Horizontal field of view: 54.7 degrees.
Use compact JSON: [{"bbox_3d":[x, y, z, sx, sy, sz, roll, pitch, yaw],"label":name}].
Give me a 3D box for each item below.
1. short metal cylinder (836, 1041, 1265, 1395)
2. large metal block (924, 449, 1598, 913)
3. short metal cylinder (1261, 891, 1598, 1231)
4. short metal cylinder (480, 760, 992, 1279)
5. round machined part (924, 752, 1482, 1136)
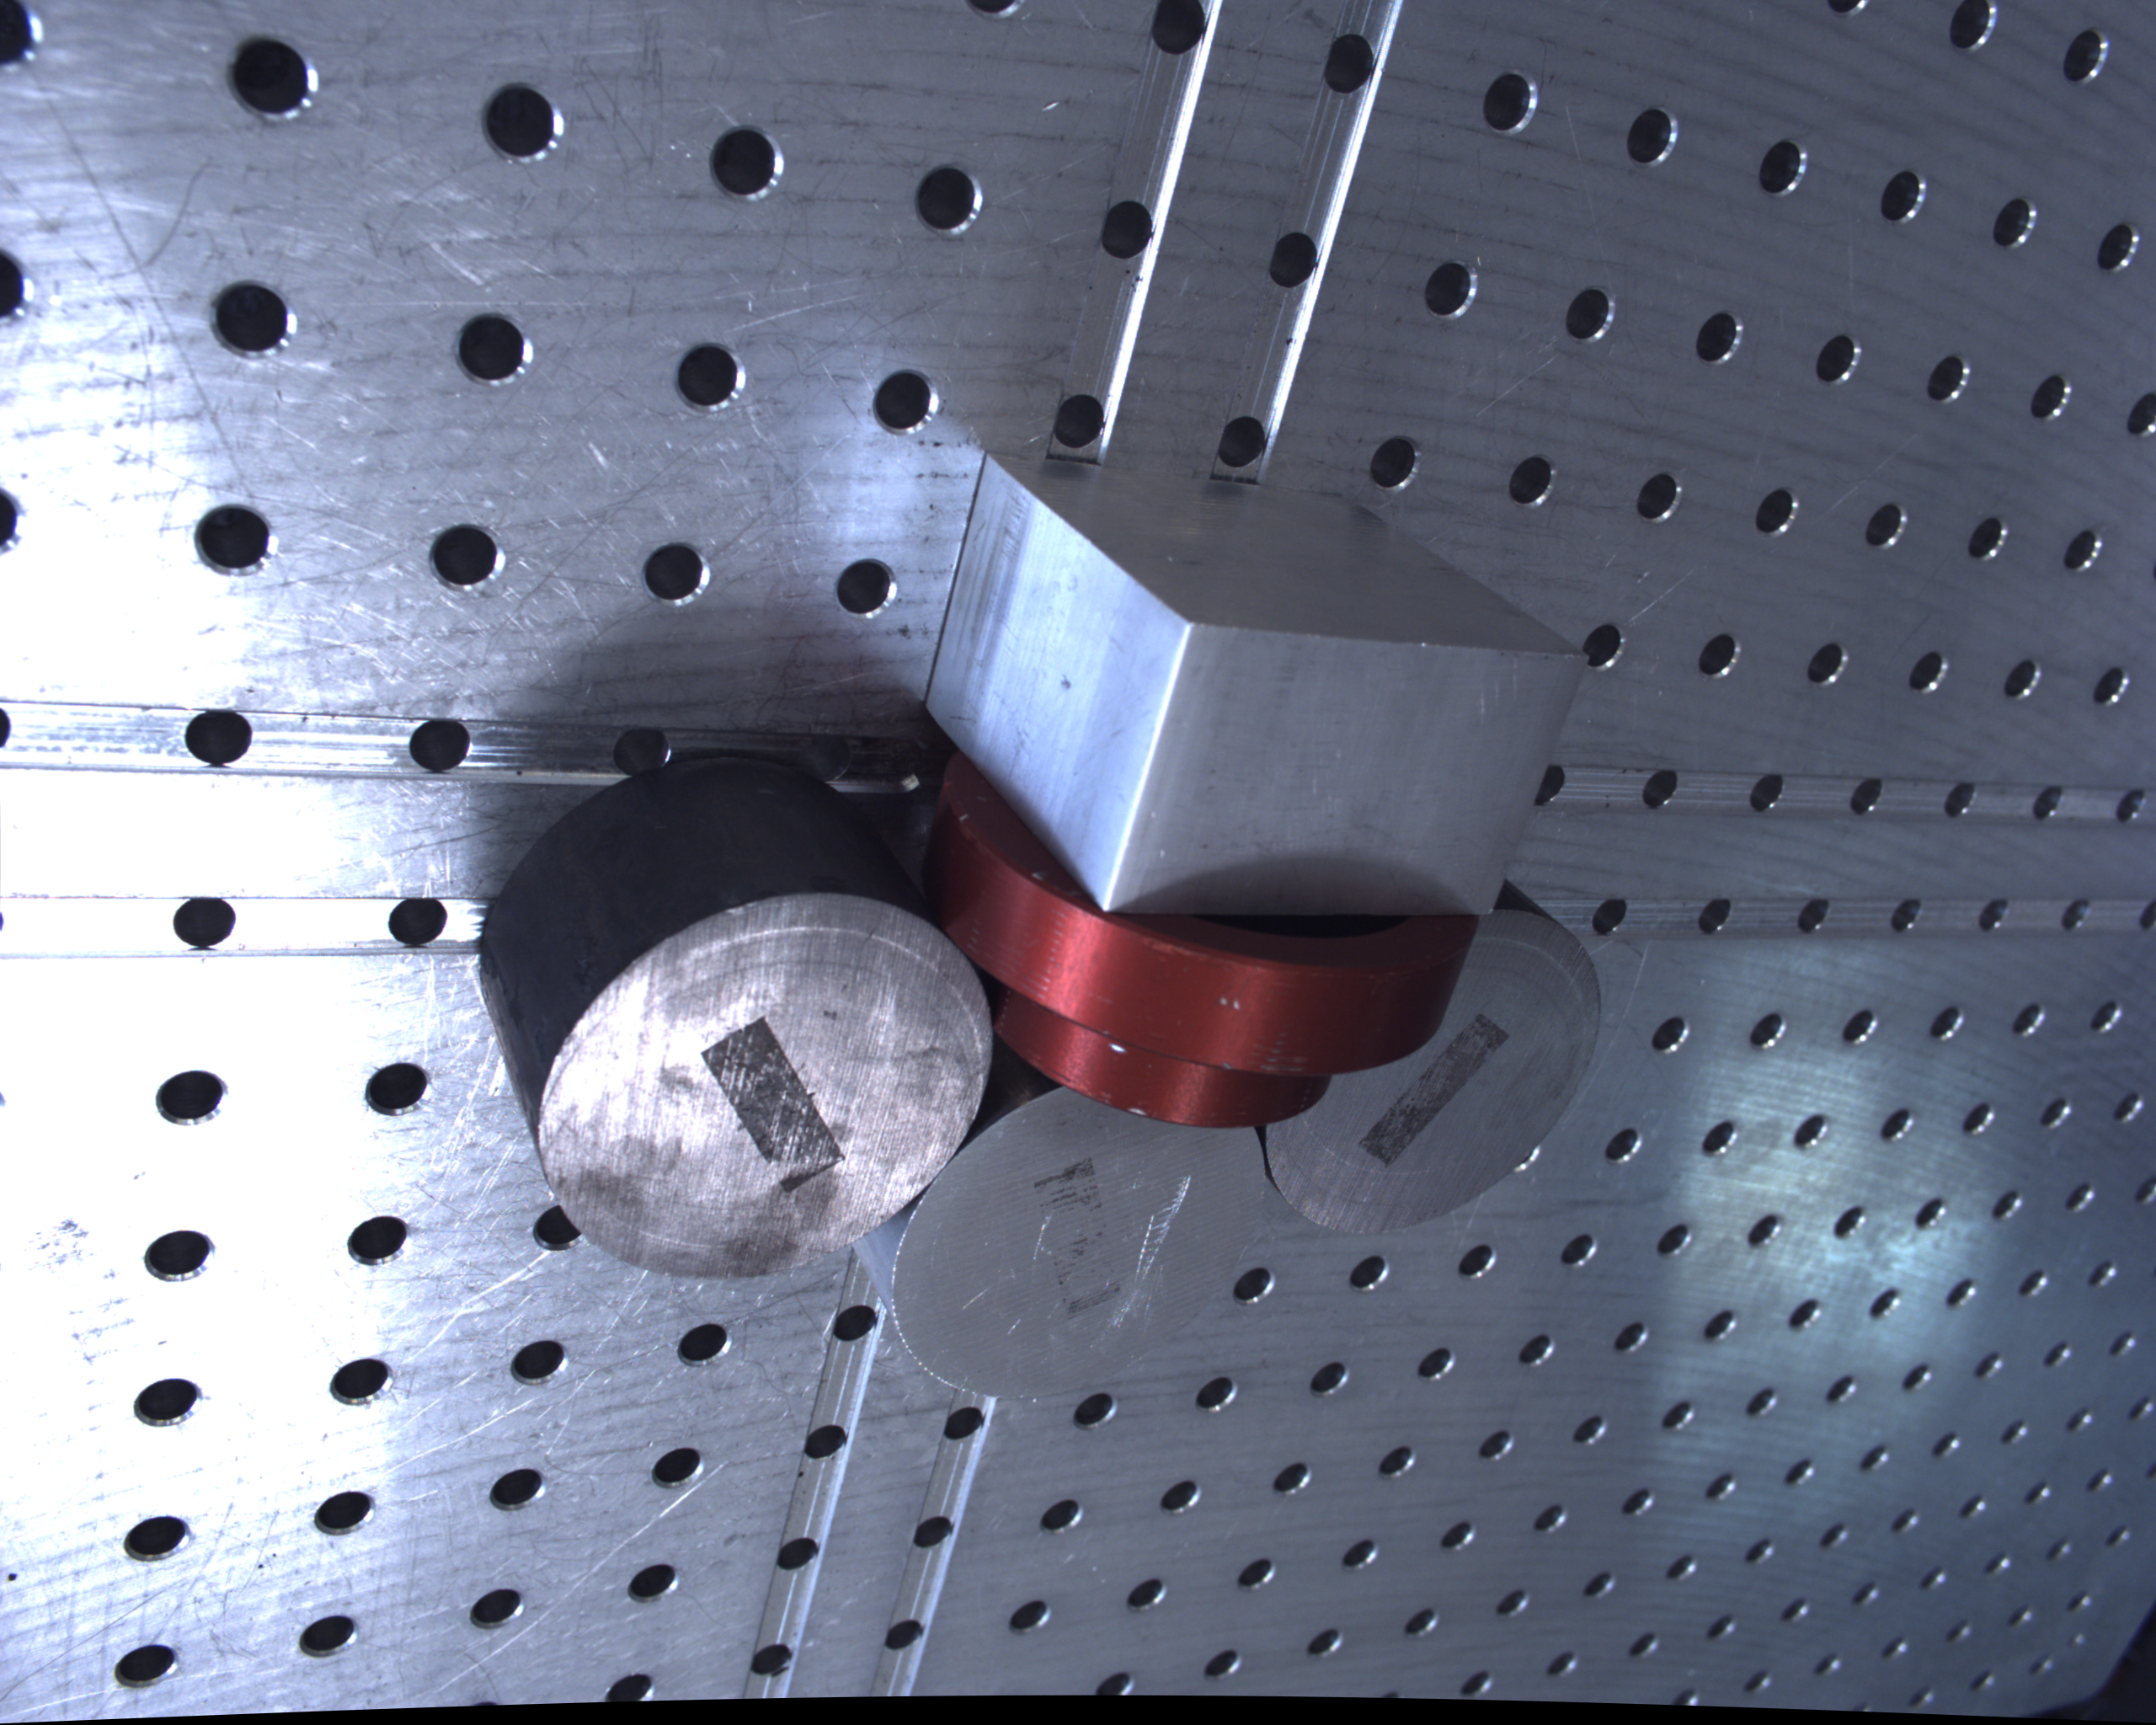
[{"bbox_3d":[-0.009,0.061,0.428,0.081,0.050,0.079,-14,124,-21],"label":"short metal cylinder"},{"bbox_3d":[0.029,-0.033,0.371,0.081,0.080,0.050,1,118,-29],"label":"large metal block"},{"bbox_3d":[0.064,0.032,0.450,0.081,0.050,0.079,-14,124,-21],"label":"short metal cylinder"},{"bbox_3d":[-0.062,0.028,0.379,0.081,0.050,0.079,-14,124,-21],"label":"short metal cylinder"},{"bbox_3d":[0.020,0.014,0.381,0.099,0.098,0.042,2,117,-29],"label":"round machined part"}]
